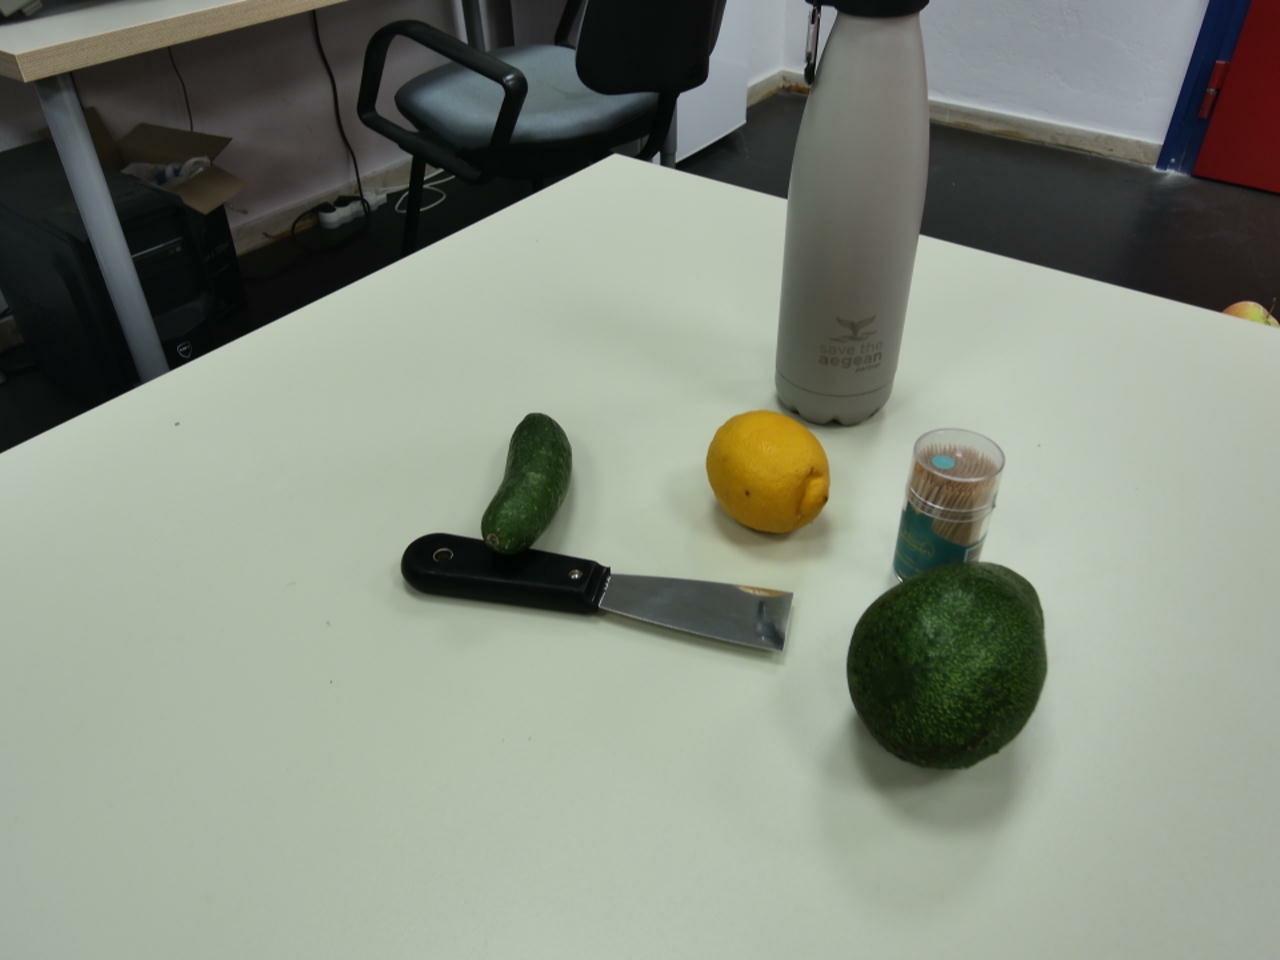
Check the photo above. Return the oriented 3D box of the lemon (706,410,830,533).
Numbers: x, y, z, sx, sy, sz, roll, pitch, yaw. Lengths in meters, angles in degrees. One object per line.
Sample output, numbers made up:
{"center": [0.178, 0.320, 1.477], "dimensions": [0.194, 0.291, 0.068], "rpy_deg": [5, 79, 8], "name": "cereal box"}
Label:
{"center": [0.066, -0.004, 0.516], "dimensions": [0.061, 0.059, 0.067], "rpy_deg": [-6, 37, -8], "name": "lemon"}
